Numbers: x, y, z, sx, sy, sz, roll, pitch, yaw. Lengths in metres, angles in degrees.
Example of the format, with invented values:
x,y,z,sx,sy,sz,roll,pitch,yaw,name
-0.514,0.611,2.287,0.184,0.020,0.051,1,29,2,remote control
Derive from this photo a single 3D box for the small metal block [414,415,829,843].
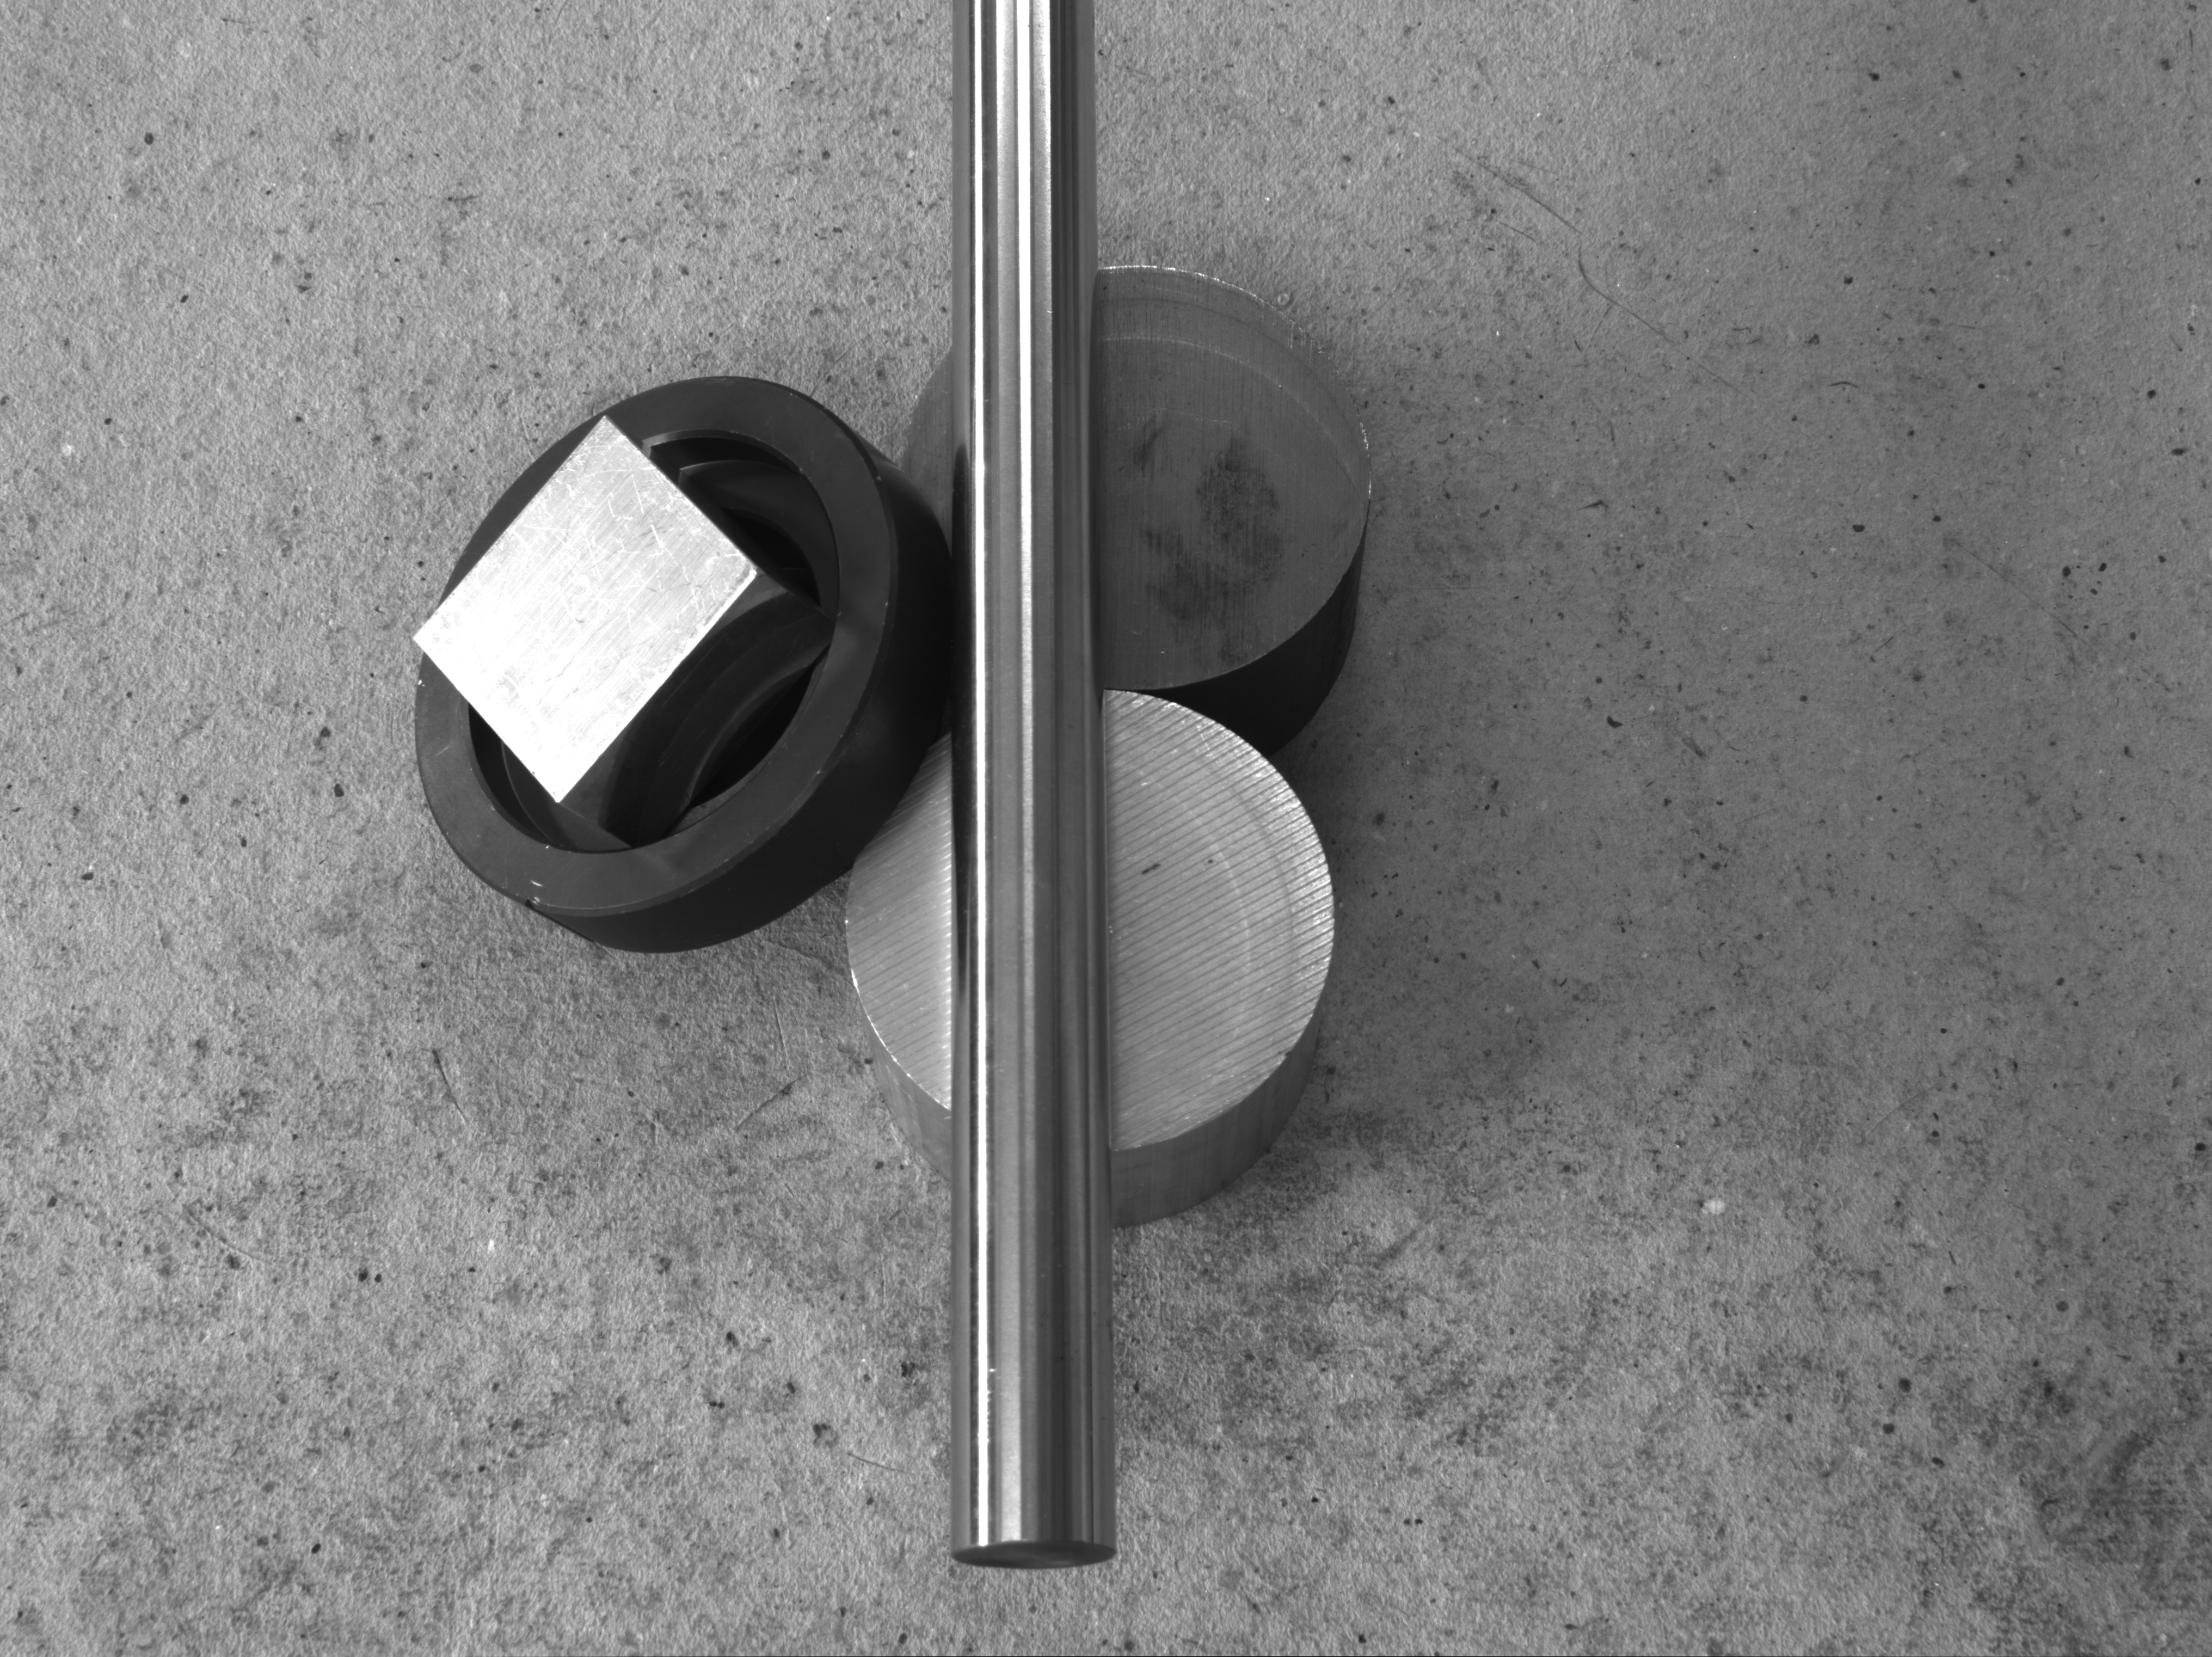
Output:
x,y,z,sx,sy,sz,roll,pitch,yaw,name
-0.080,-0.032,0.614,0.050,0.025,0.050,-49,54,4,small metal block

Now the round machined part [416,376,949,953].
x,y,z,sx,sy,sz,roll,pitch,yaw,name
-0.067,-0.025,0.632,0.098,0.042,0.098,-12,64,27,round machined part

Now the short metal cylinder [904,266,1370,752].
x,y,z,sx,sy,sz,roll,pitch,yaw,name
0.005,-0.052,0.652,0.080,0.050,0.080,0,70,0,short metal cylinder

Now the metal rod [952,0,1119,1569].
x,y,z,sx,sy,sz,roll,pitch,yaw,name
-0.013,-0.031,0.604,0.025,0.025,0.300,-1,70,0,metal rod

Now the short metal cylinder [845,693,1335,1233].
x,y,z,sx,sy,sz,roll,pitch,yaw,name
-0.002,0.023,0.623,0.080,0.050,0.080,0,69,0,short metal cylinder
